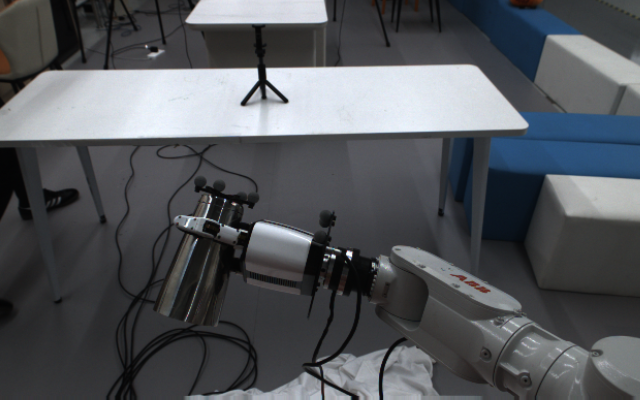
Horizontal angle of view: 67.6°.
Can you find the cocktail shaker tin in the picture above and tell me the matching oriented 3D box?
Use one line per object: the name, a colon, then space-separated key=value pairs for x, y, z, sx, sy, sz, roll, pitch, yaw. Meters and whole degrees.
cocktail shaker tin: x=-0.161 y=0.081 z=0.688 sx=0.093 sy=0.093 sz=0.170 roll=13 pitch=80 yaw=16
